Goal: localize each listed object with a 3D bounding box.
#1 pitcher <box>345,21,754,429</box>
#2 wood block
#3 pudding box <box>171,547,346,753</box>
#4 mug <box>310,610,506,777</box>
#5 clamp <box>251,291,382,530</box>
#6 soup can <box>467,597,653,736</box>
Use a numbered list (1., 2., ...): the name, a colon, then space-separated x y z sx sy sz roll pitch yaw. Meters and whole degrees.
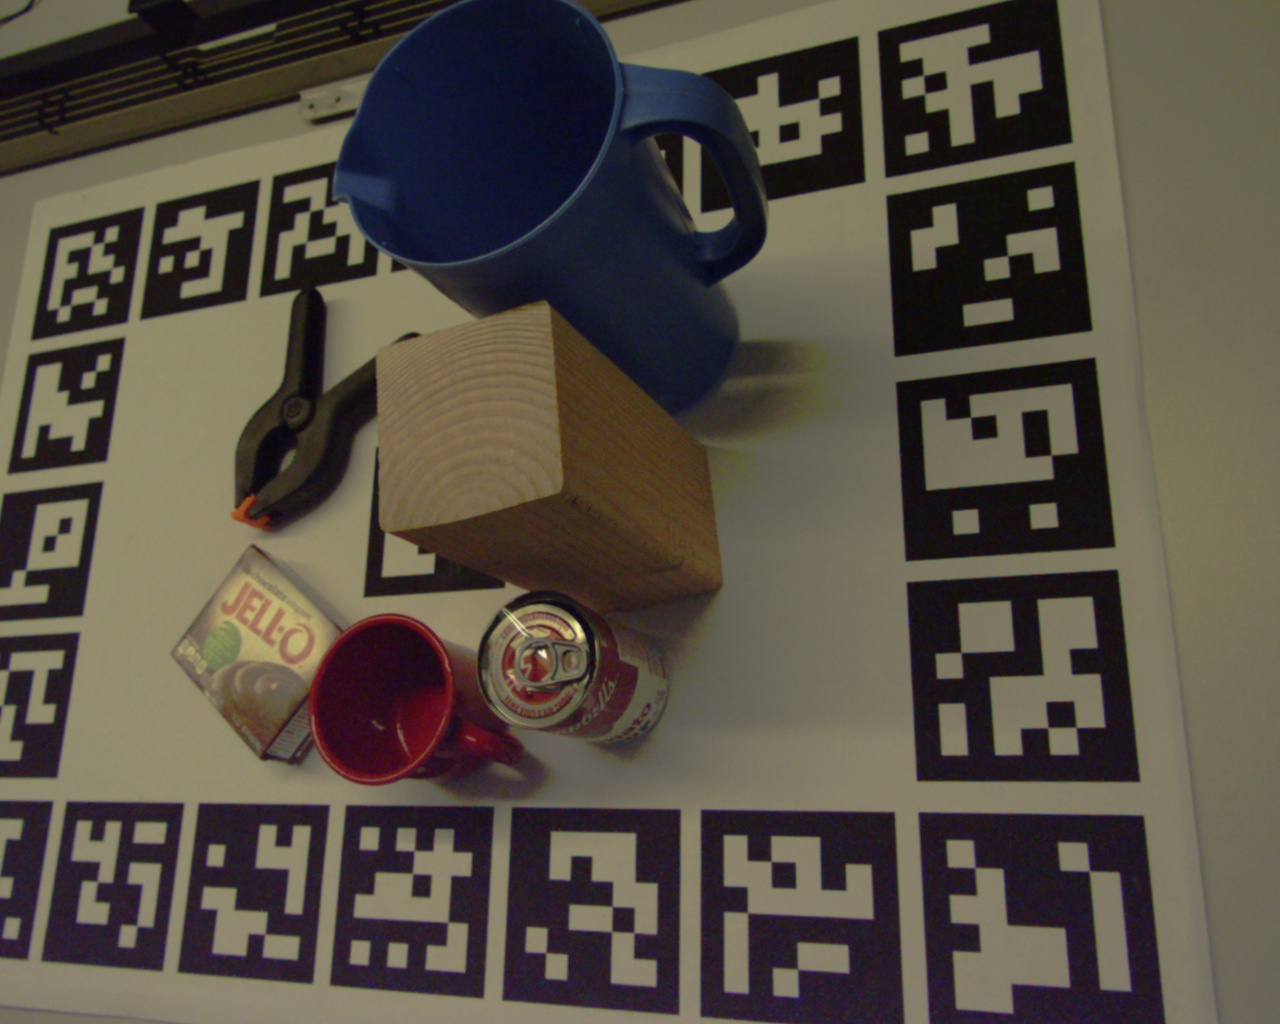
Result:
1. pitcher: -0.024 -0.137 0.614 0.191 0.239 0.133 -7 70 24
2. wood block: -0.043 -0.014 0.603 0.090 0.204 0.091 -8 72 17
3. pudding box: -0.247 0.091 0.757 0.115 0.038 0.090 35 93 28
4. mug: -0.124 0.118 0.669 0.118 0.080 0.093 34 87 29
5. clamp: -0.223 -0.064 0.800 0.123 0.036 0.165 26 86 20
6. soup can: -0.041 0.088 0.630 0.068 0.101 0.068 -6 75 21
